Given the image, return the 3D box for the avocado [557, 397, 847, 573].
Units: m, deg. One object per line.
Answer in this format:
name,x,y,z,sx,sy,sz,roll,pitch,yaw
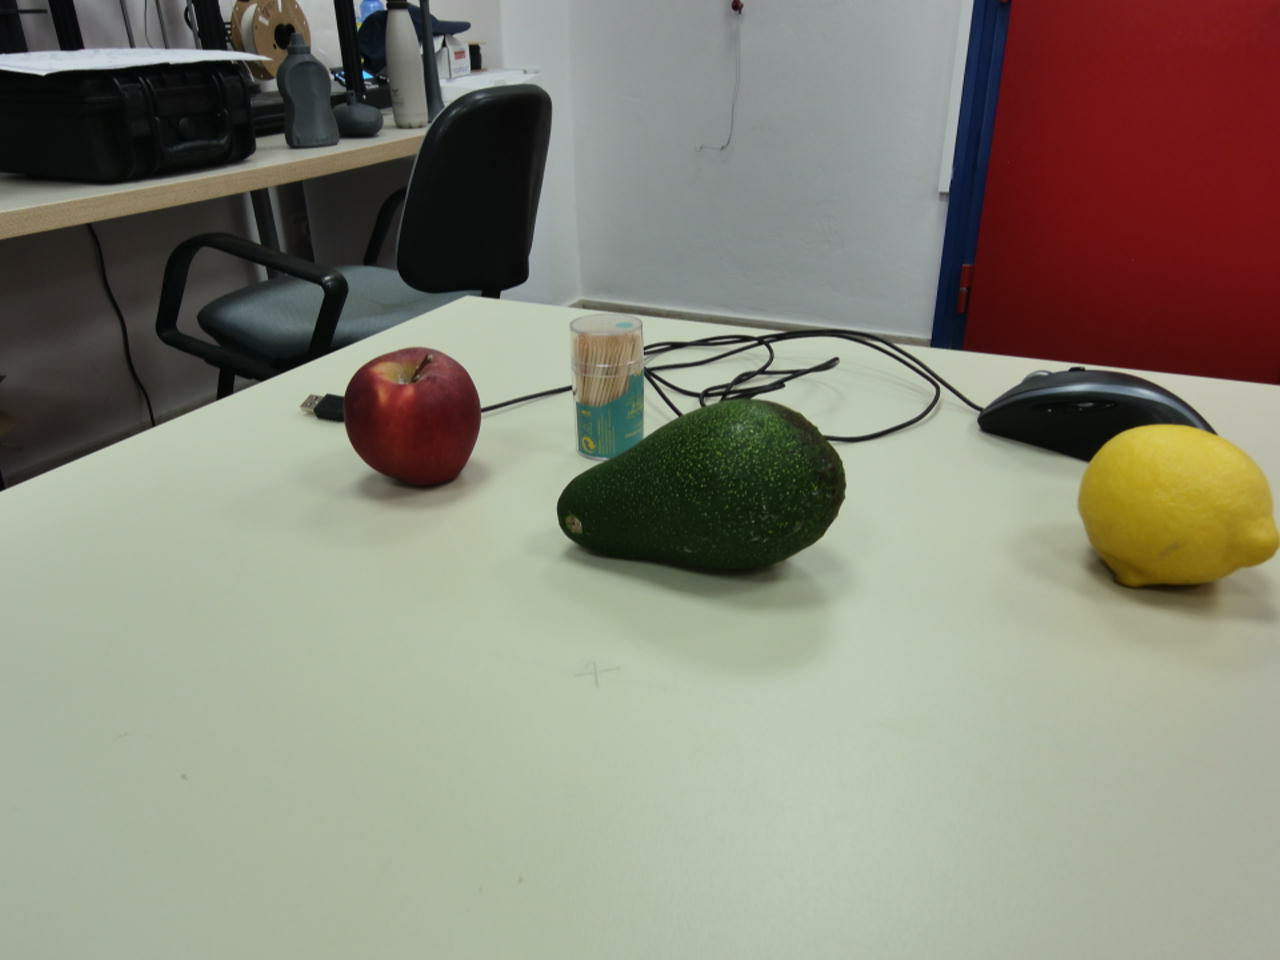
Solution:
avocado,0.030,-0.001,0.438,0.123,0.076,0.074,14,27,29
